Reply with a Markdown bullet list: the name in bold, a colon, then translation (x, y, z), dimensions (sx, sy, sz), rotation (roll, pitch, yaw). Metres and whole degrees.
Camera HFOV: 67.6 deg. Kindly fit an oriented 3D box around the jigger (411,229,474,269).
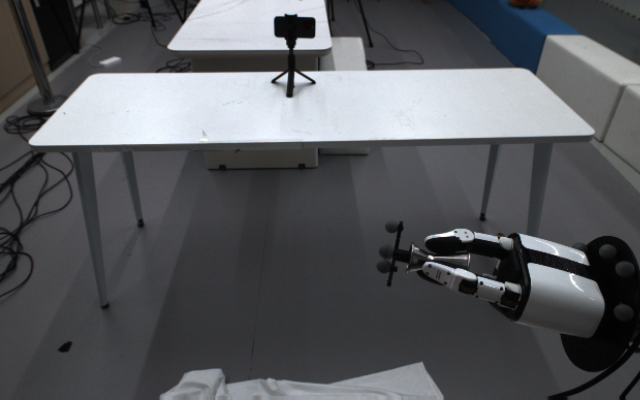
- **jigger**: translation (0.148, 0.070, 0.586), dimensions (0.071, 0.043, 0.043), rotation (9, 35, 9)
